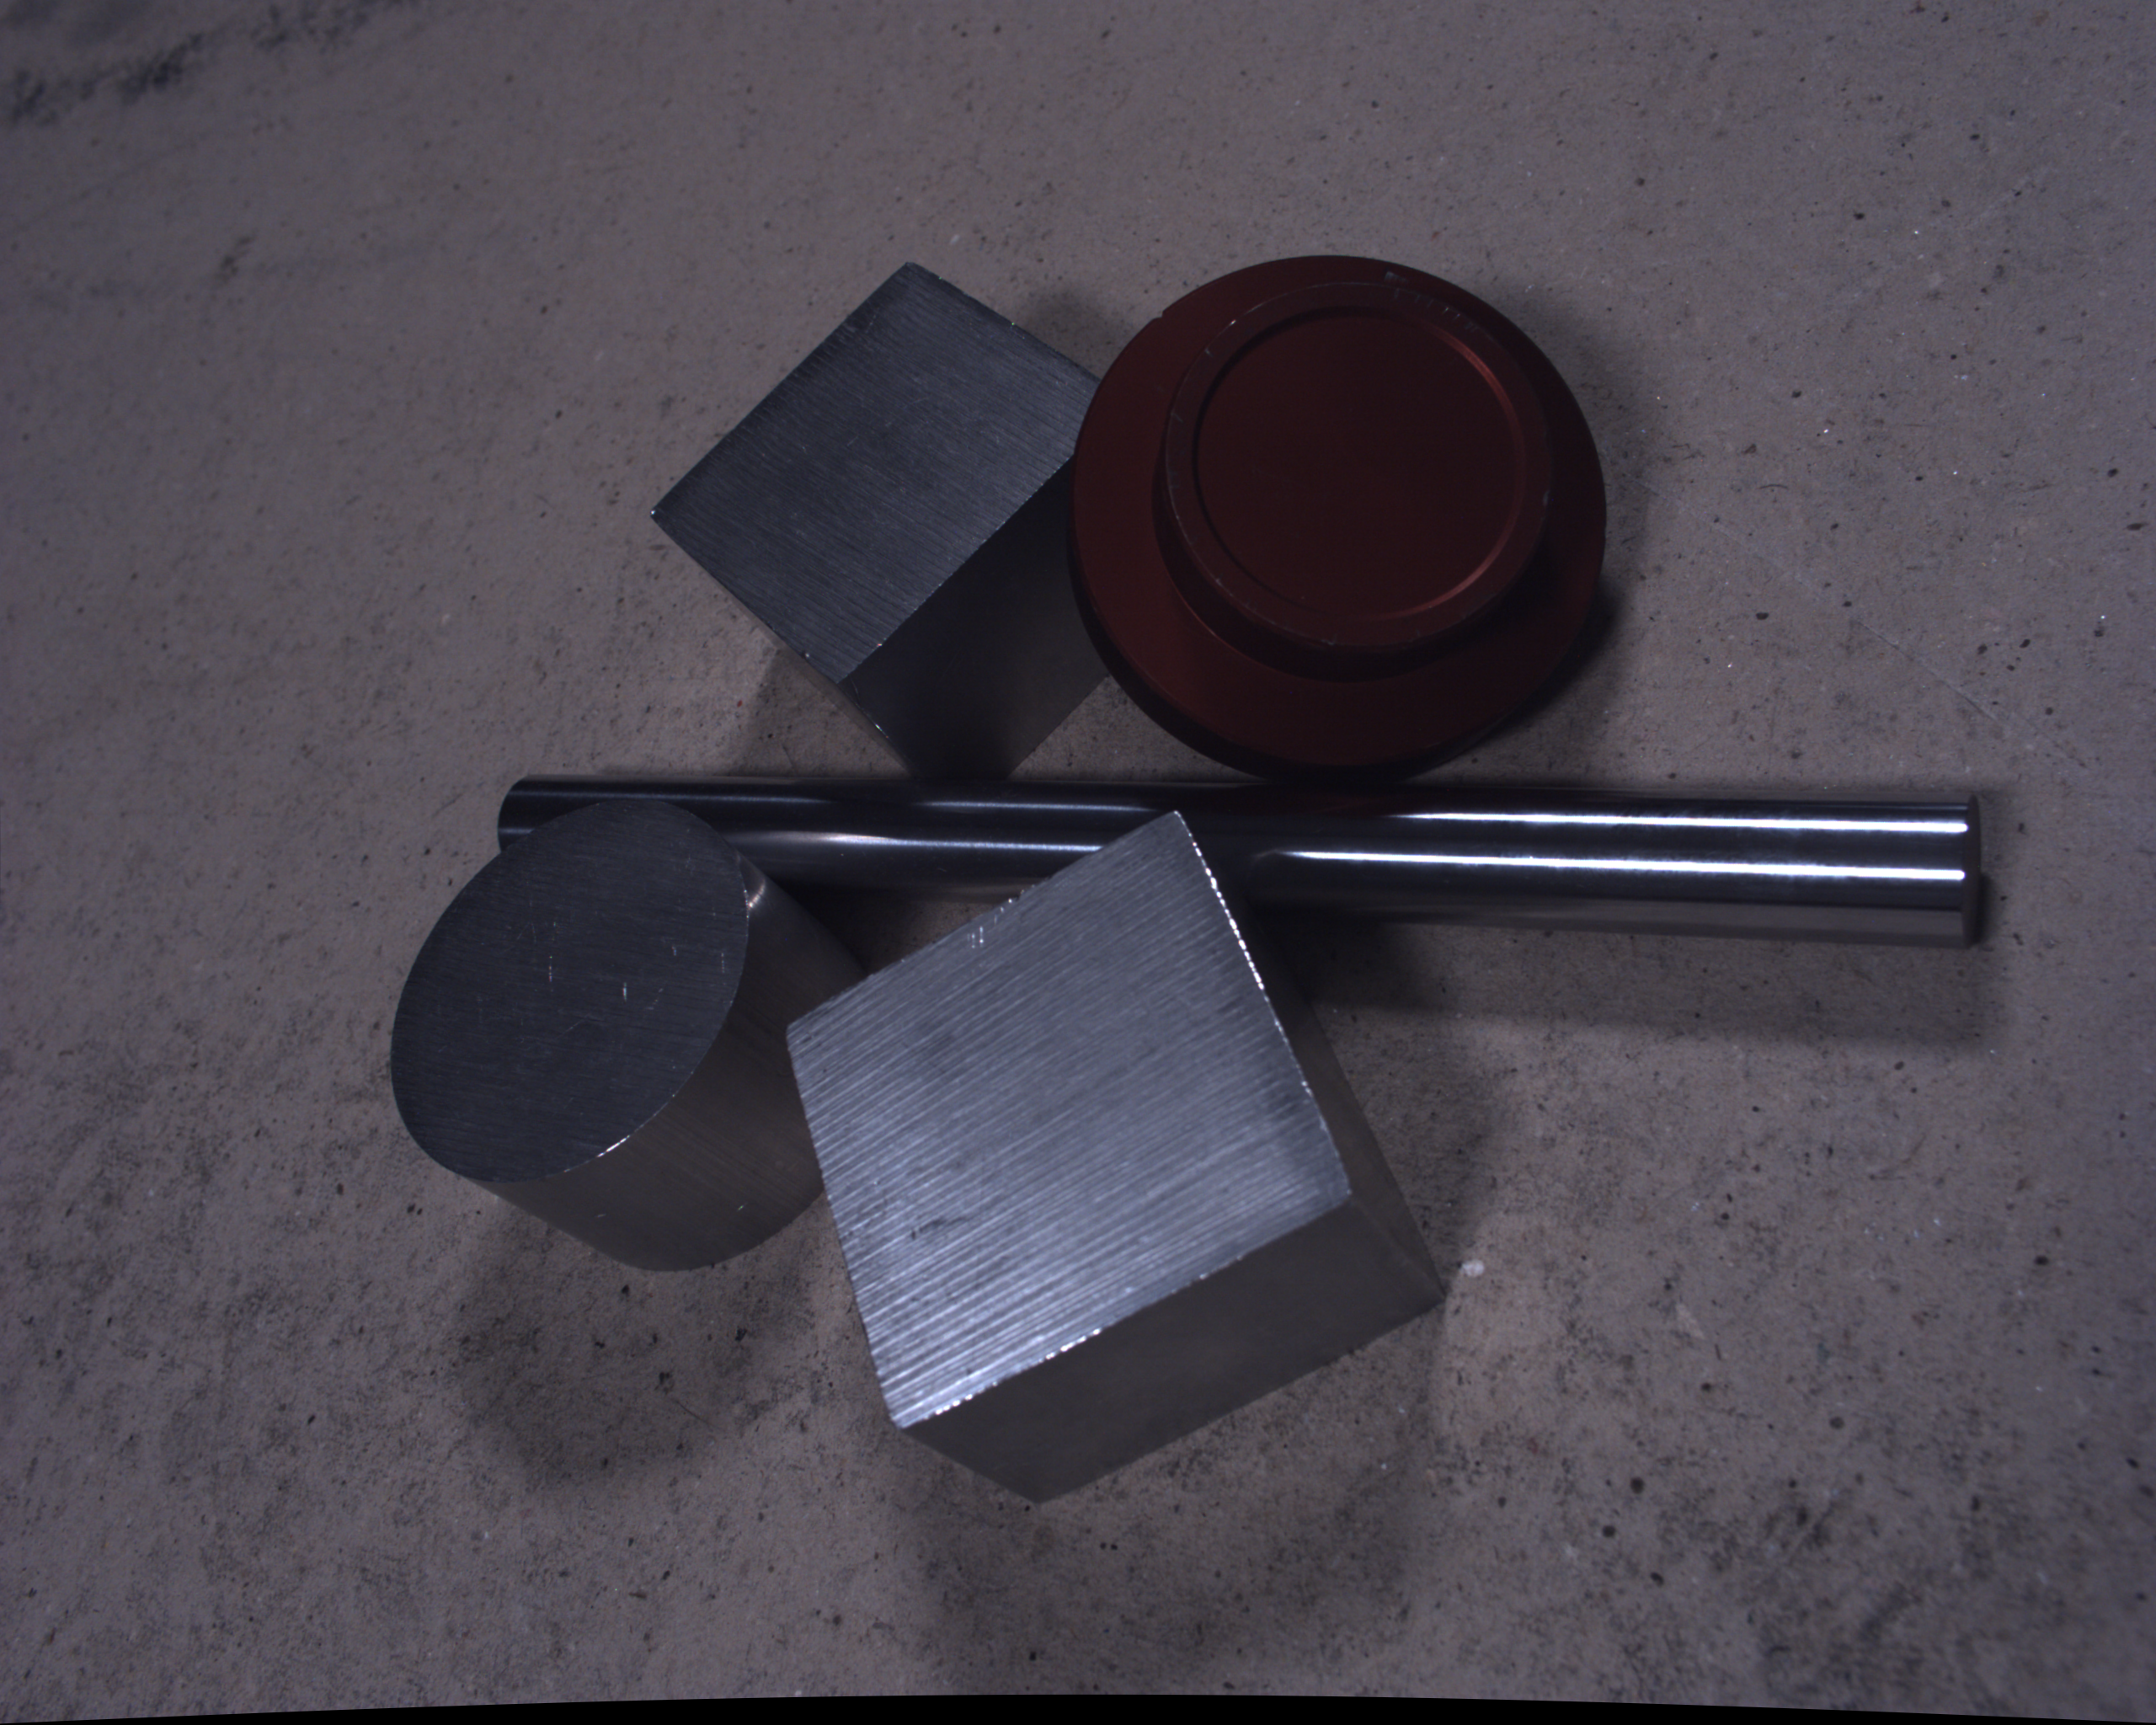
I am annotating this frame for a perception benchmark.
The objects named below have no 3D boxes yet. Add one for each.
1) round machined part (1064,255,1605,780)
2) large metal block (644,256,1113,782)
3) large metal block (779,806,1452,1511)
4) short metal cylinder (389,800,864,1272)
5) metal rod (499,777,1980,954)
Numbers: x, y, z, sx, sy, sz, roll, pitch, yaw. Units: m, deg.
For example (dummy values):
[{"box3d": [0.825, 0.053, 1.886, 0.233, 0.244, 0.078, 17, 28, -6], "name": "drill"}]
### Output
[{"box3d": [0.047, -0.066, 0.379, 0.099, 0.042, 0.098, 0, 79, 0], "name": "round machined part"}, {"box3d": [-0.031, -0.071, 0.445, 0.080, 0.050, 0.080, -45, 51, -3], "name": "large metal block"}, {"box3d": [0.005, 0.051, 0.355, 0.080, 0.050, 0.080, -29, 52, 9], "name": "large metal block"}, {"box3d": [-0.086, 0.034, 0.412, 0.080, 0.050, 0.080, -13, 56, 20], "name": "short metal cylinder"}, {"box3d": [0.010, -0.003, 0.402, 0.300, 0.025, 0.025, 2, 63, 28], "name": "metal rod"}]
